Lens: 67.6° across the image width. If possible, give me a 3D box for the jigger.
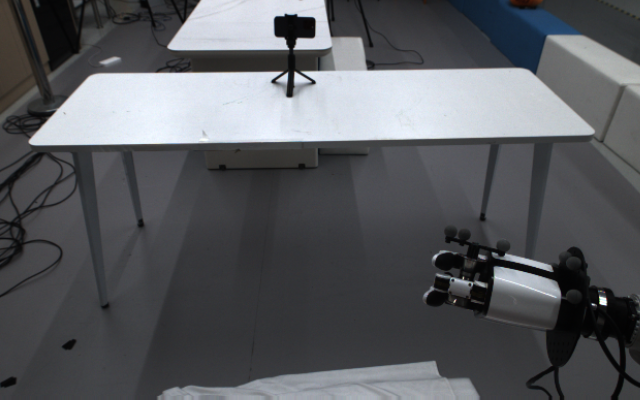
[{"bbox_3d":[0.204,0.111,0.671,0.043,0.071,0.043,14,1,0],"label":"jigger"}]
